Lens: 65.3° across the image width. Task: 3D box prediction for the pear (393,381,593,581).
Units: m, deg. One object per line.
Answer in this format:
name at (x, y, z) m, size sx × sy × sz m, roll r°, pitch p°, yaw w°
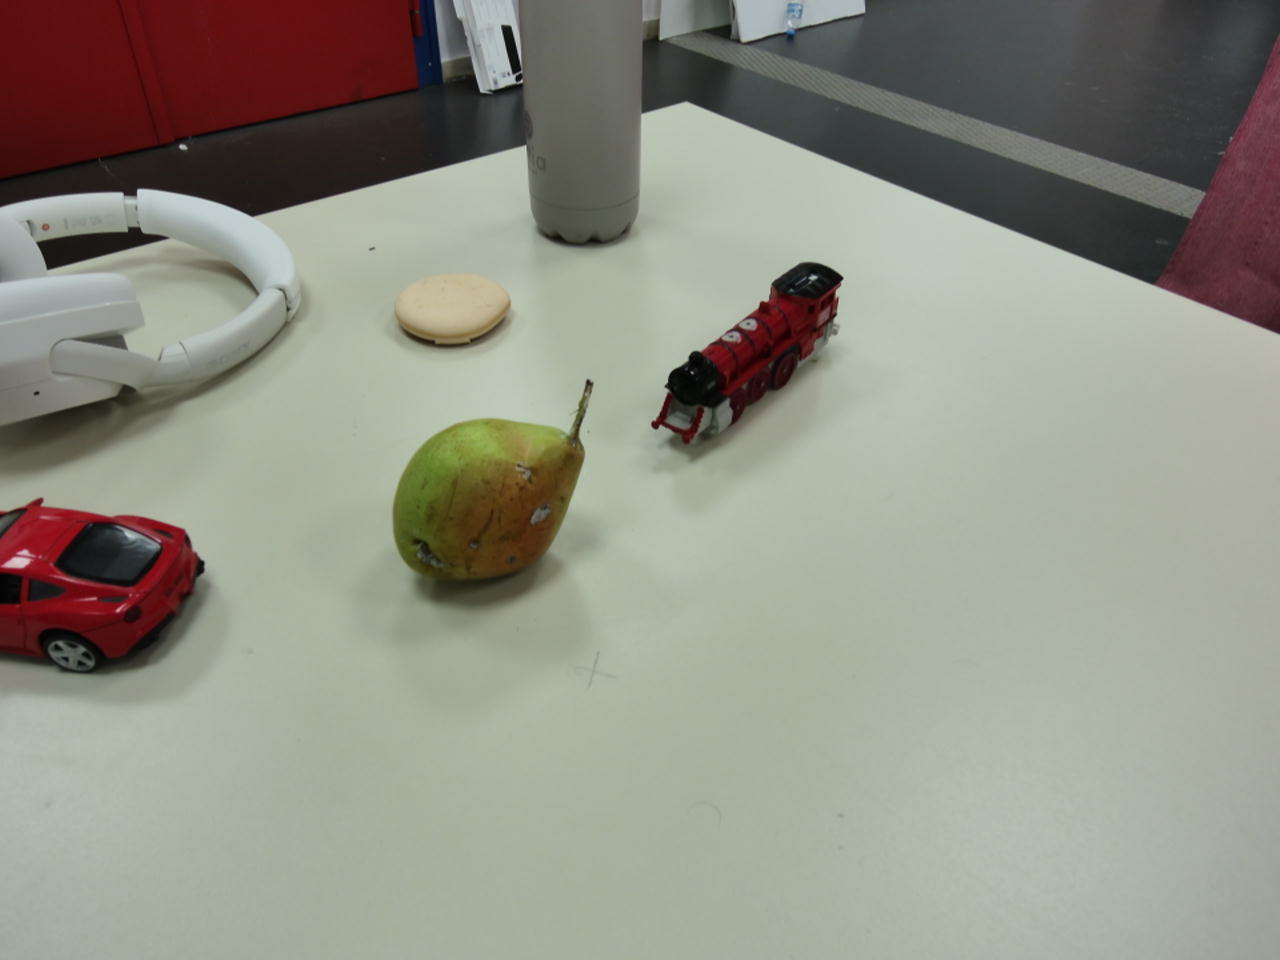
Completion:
pear at (-0.059, 0.005, 0.387) m, size 0.070 × 0.069 × 0.068 m, roll 7°, pitch 37°, yaw 9°
